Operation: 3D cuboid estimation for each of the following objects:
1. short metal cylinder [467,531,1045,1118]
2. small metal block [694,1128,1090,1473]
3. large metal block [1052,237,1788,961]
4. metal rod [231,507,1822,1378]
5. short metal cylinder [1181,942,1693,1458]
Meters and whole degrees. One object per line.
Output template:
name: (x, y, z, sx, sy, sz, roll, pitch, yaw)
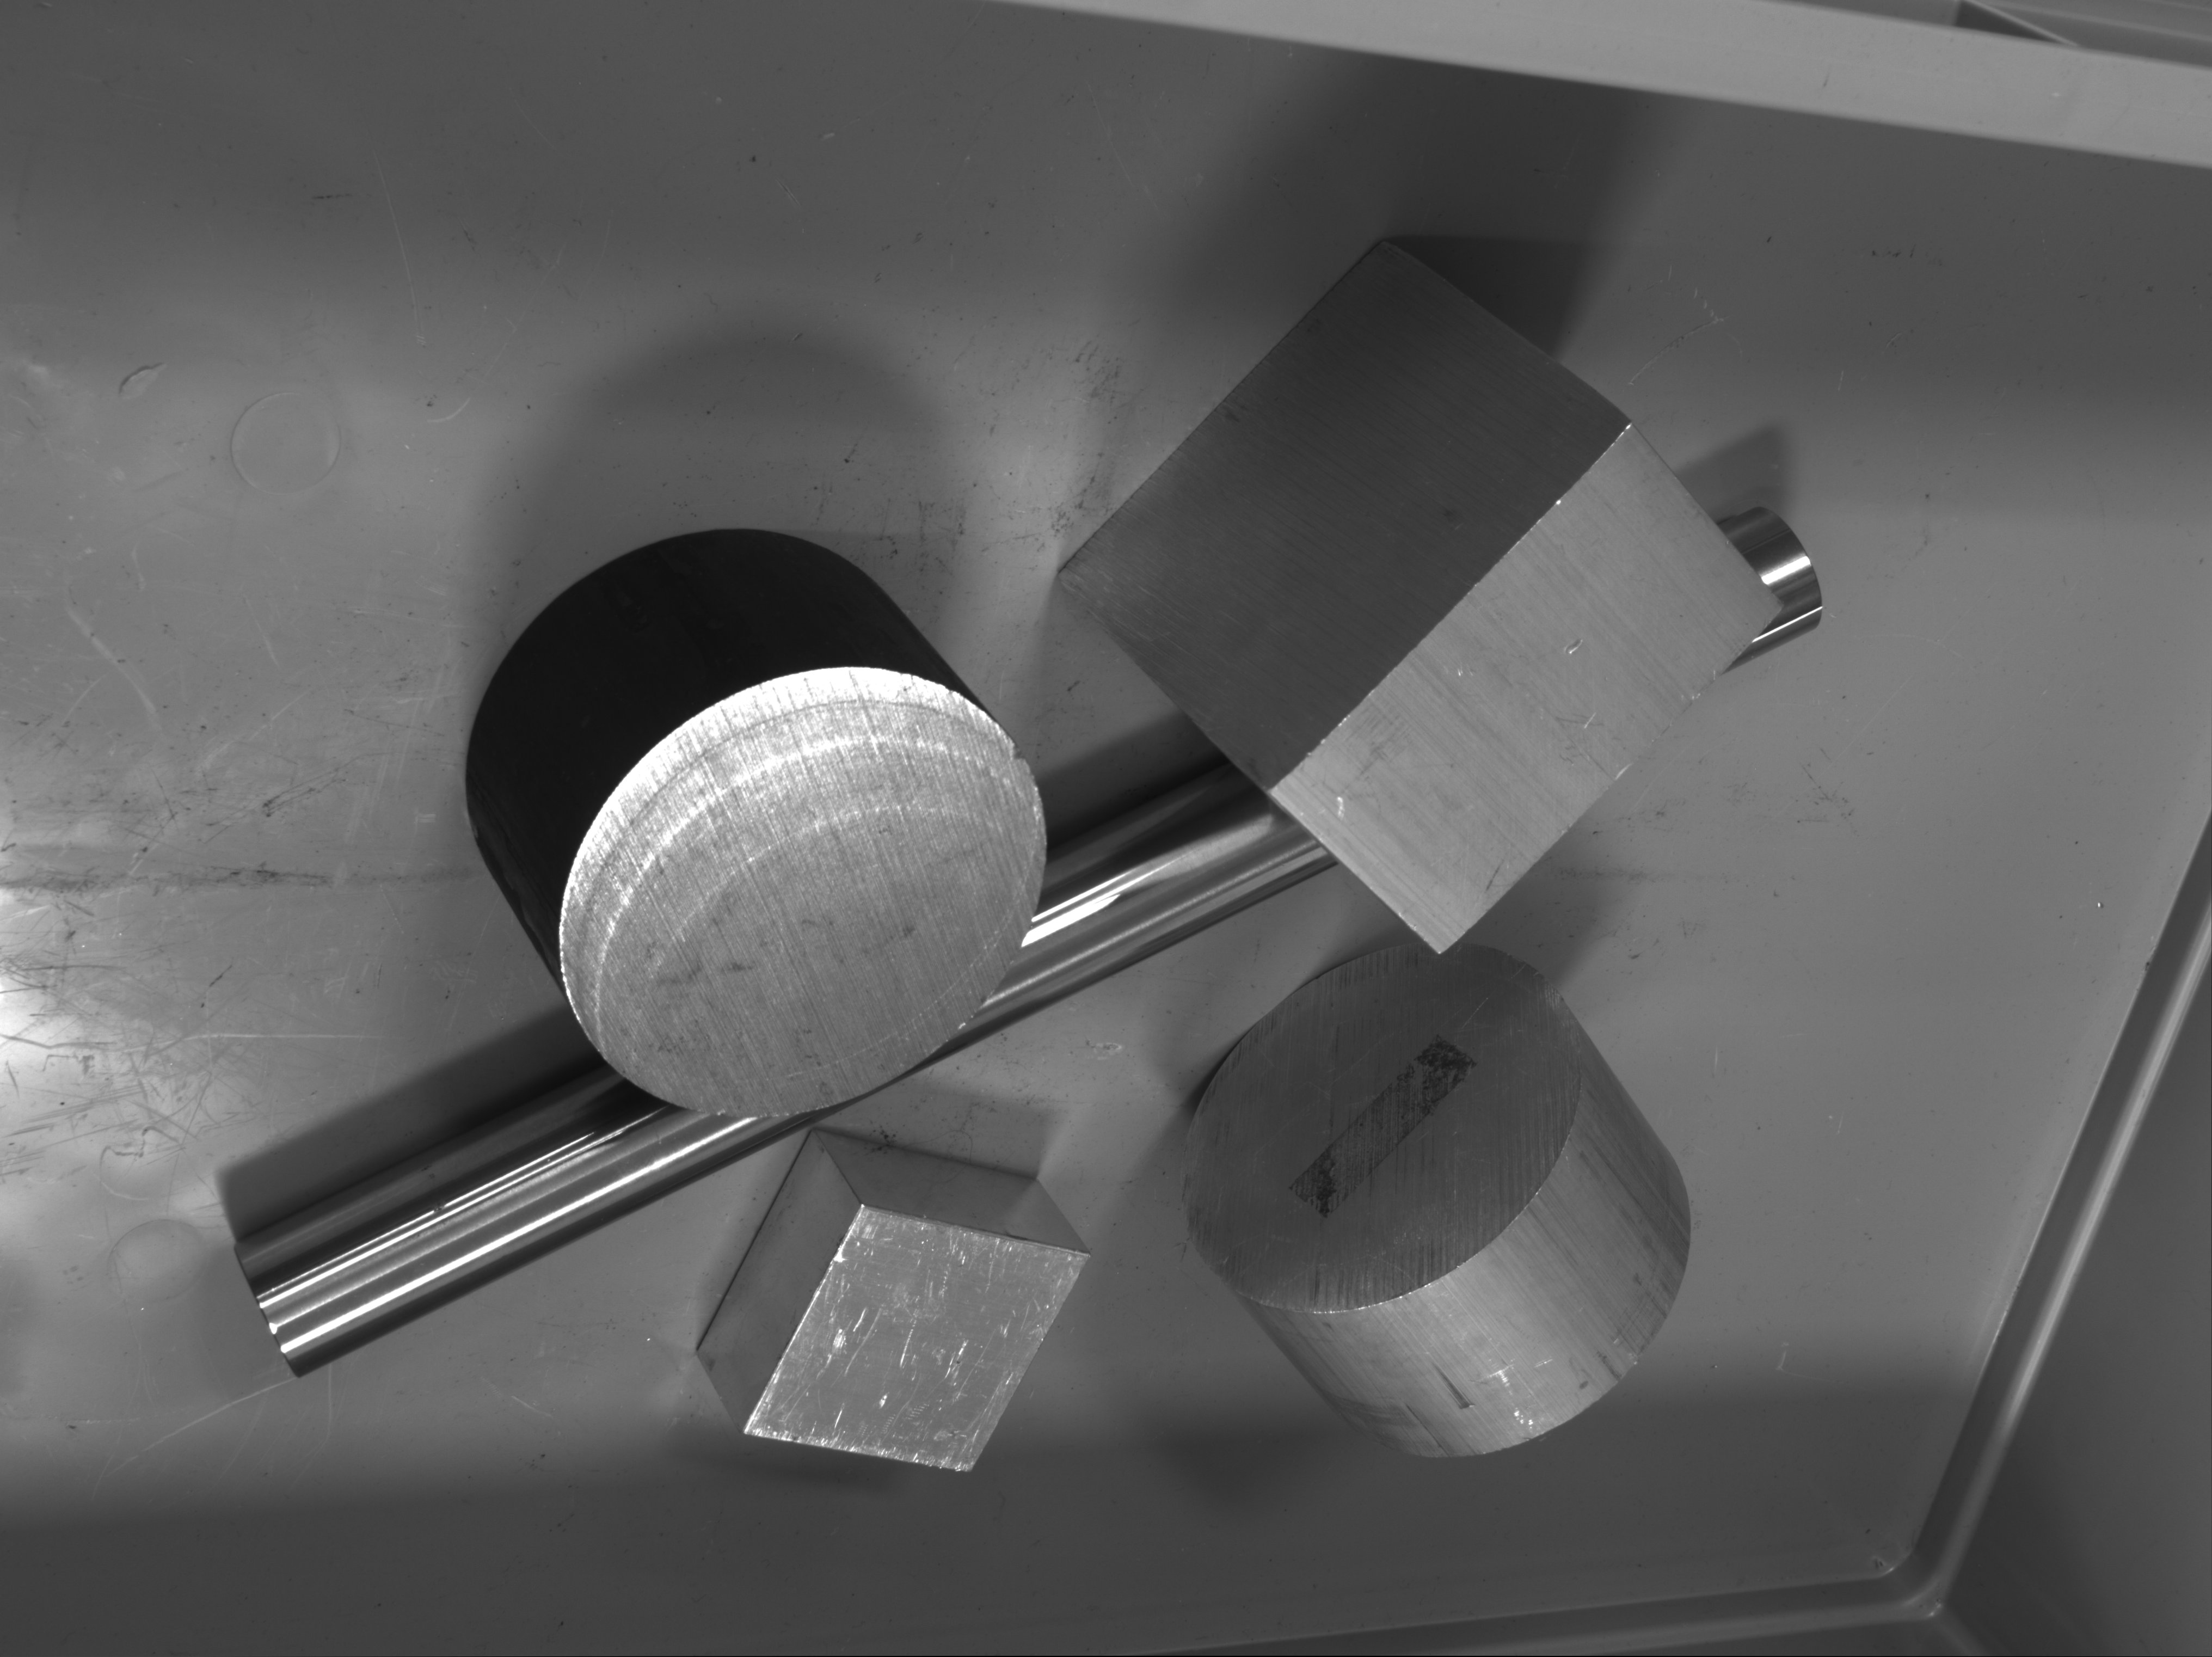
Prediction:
short metal cylinder: (-0.056, -0.001, 0.589, 0.080, 0.050, 0.080, -13, 124, -21)
small metal block: (-0.039, 0.086, 0.668, 0.050, 0.025, 0.050, 16, 110, -34)
large metal block: (0.050, -0.039, 0.604, 0.080, 0.080, 0.050, -45, 129, 3)
metal rod: (-0.008, 0.016, 0.642, 0.300, 0.025, 0.025, -26, 127, -12)
short metal cylinder: (0.061, 0.068, 0.675, 0.080, 0.080, 0.050, -40, 129, -1)
